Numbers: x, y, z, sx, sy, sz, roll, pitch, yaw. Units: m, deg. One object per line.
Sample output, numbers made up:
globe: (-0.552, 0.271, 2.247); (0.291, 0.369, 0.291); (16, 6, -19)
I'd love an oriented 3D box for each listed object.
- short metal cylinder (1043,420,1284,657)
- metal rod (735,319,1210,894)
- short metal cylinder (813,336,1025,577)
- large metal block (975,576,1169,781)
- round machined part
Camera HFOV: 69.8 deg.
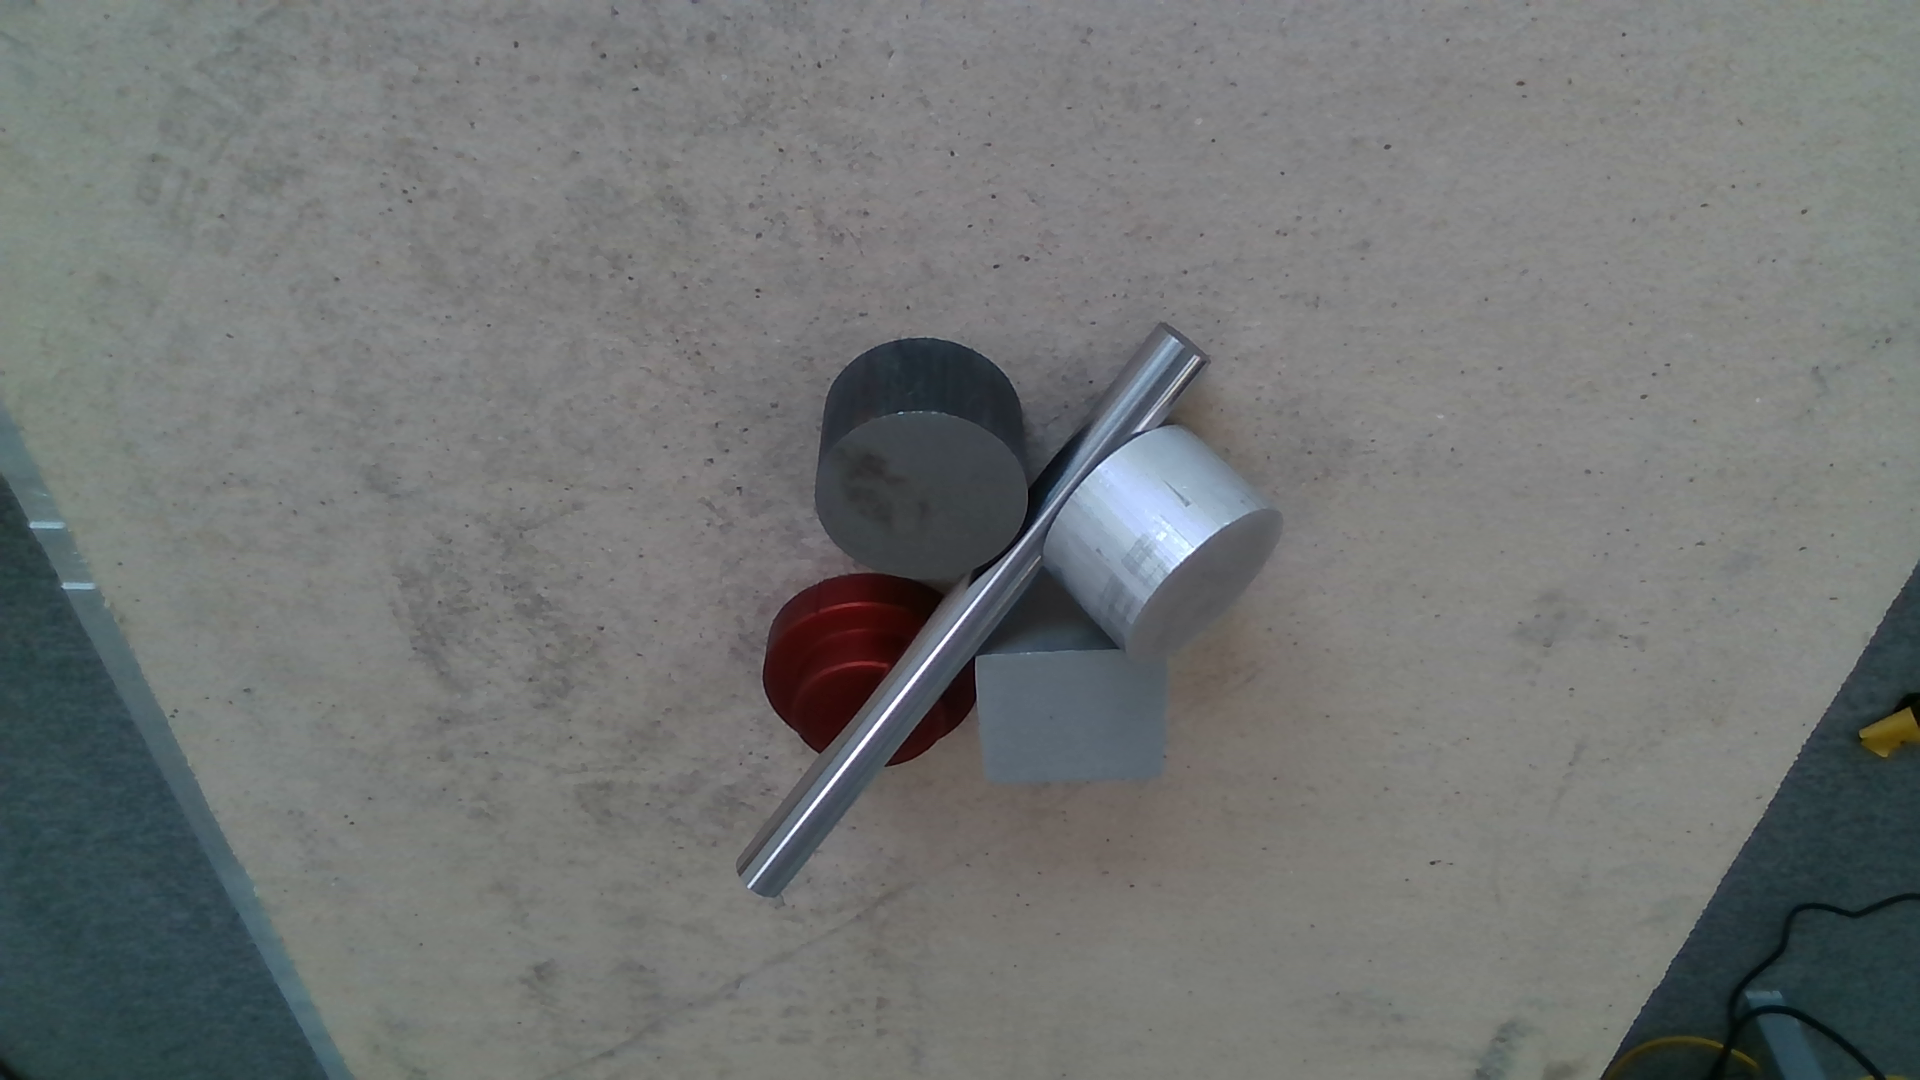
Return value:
short metal cylinder: (0.079, 0.000, 0.539); (0.080, 0.050, 0.080); (-32, 152, -19)
metal rod: (-0.003, 0.037, 0.566); (0.025, 0.025, 0.300); (30, 111, -23)
short metal cylinder: (-0.015, -0.032, 0.538); (0.080, 0.050, 0.080); (0, 130, 0)
large metal block: (0.048, 0.060, 0.611); (0.080, 0.050, 0.080); (-2, 130, 2)
round machined part: (-0.041, 0.065, 0.622); (0.098, 0.042, 0.098); (0, 130, 0)
